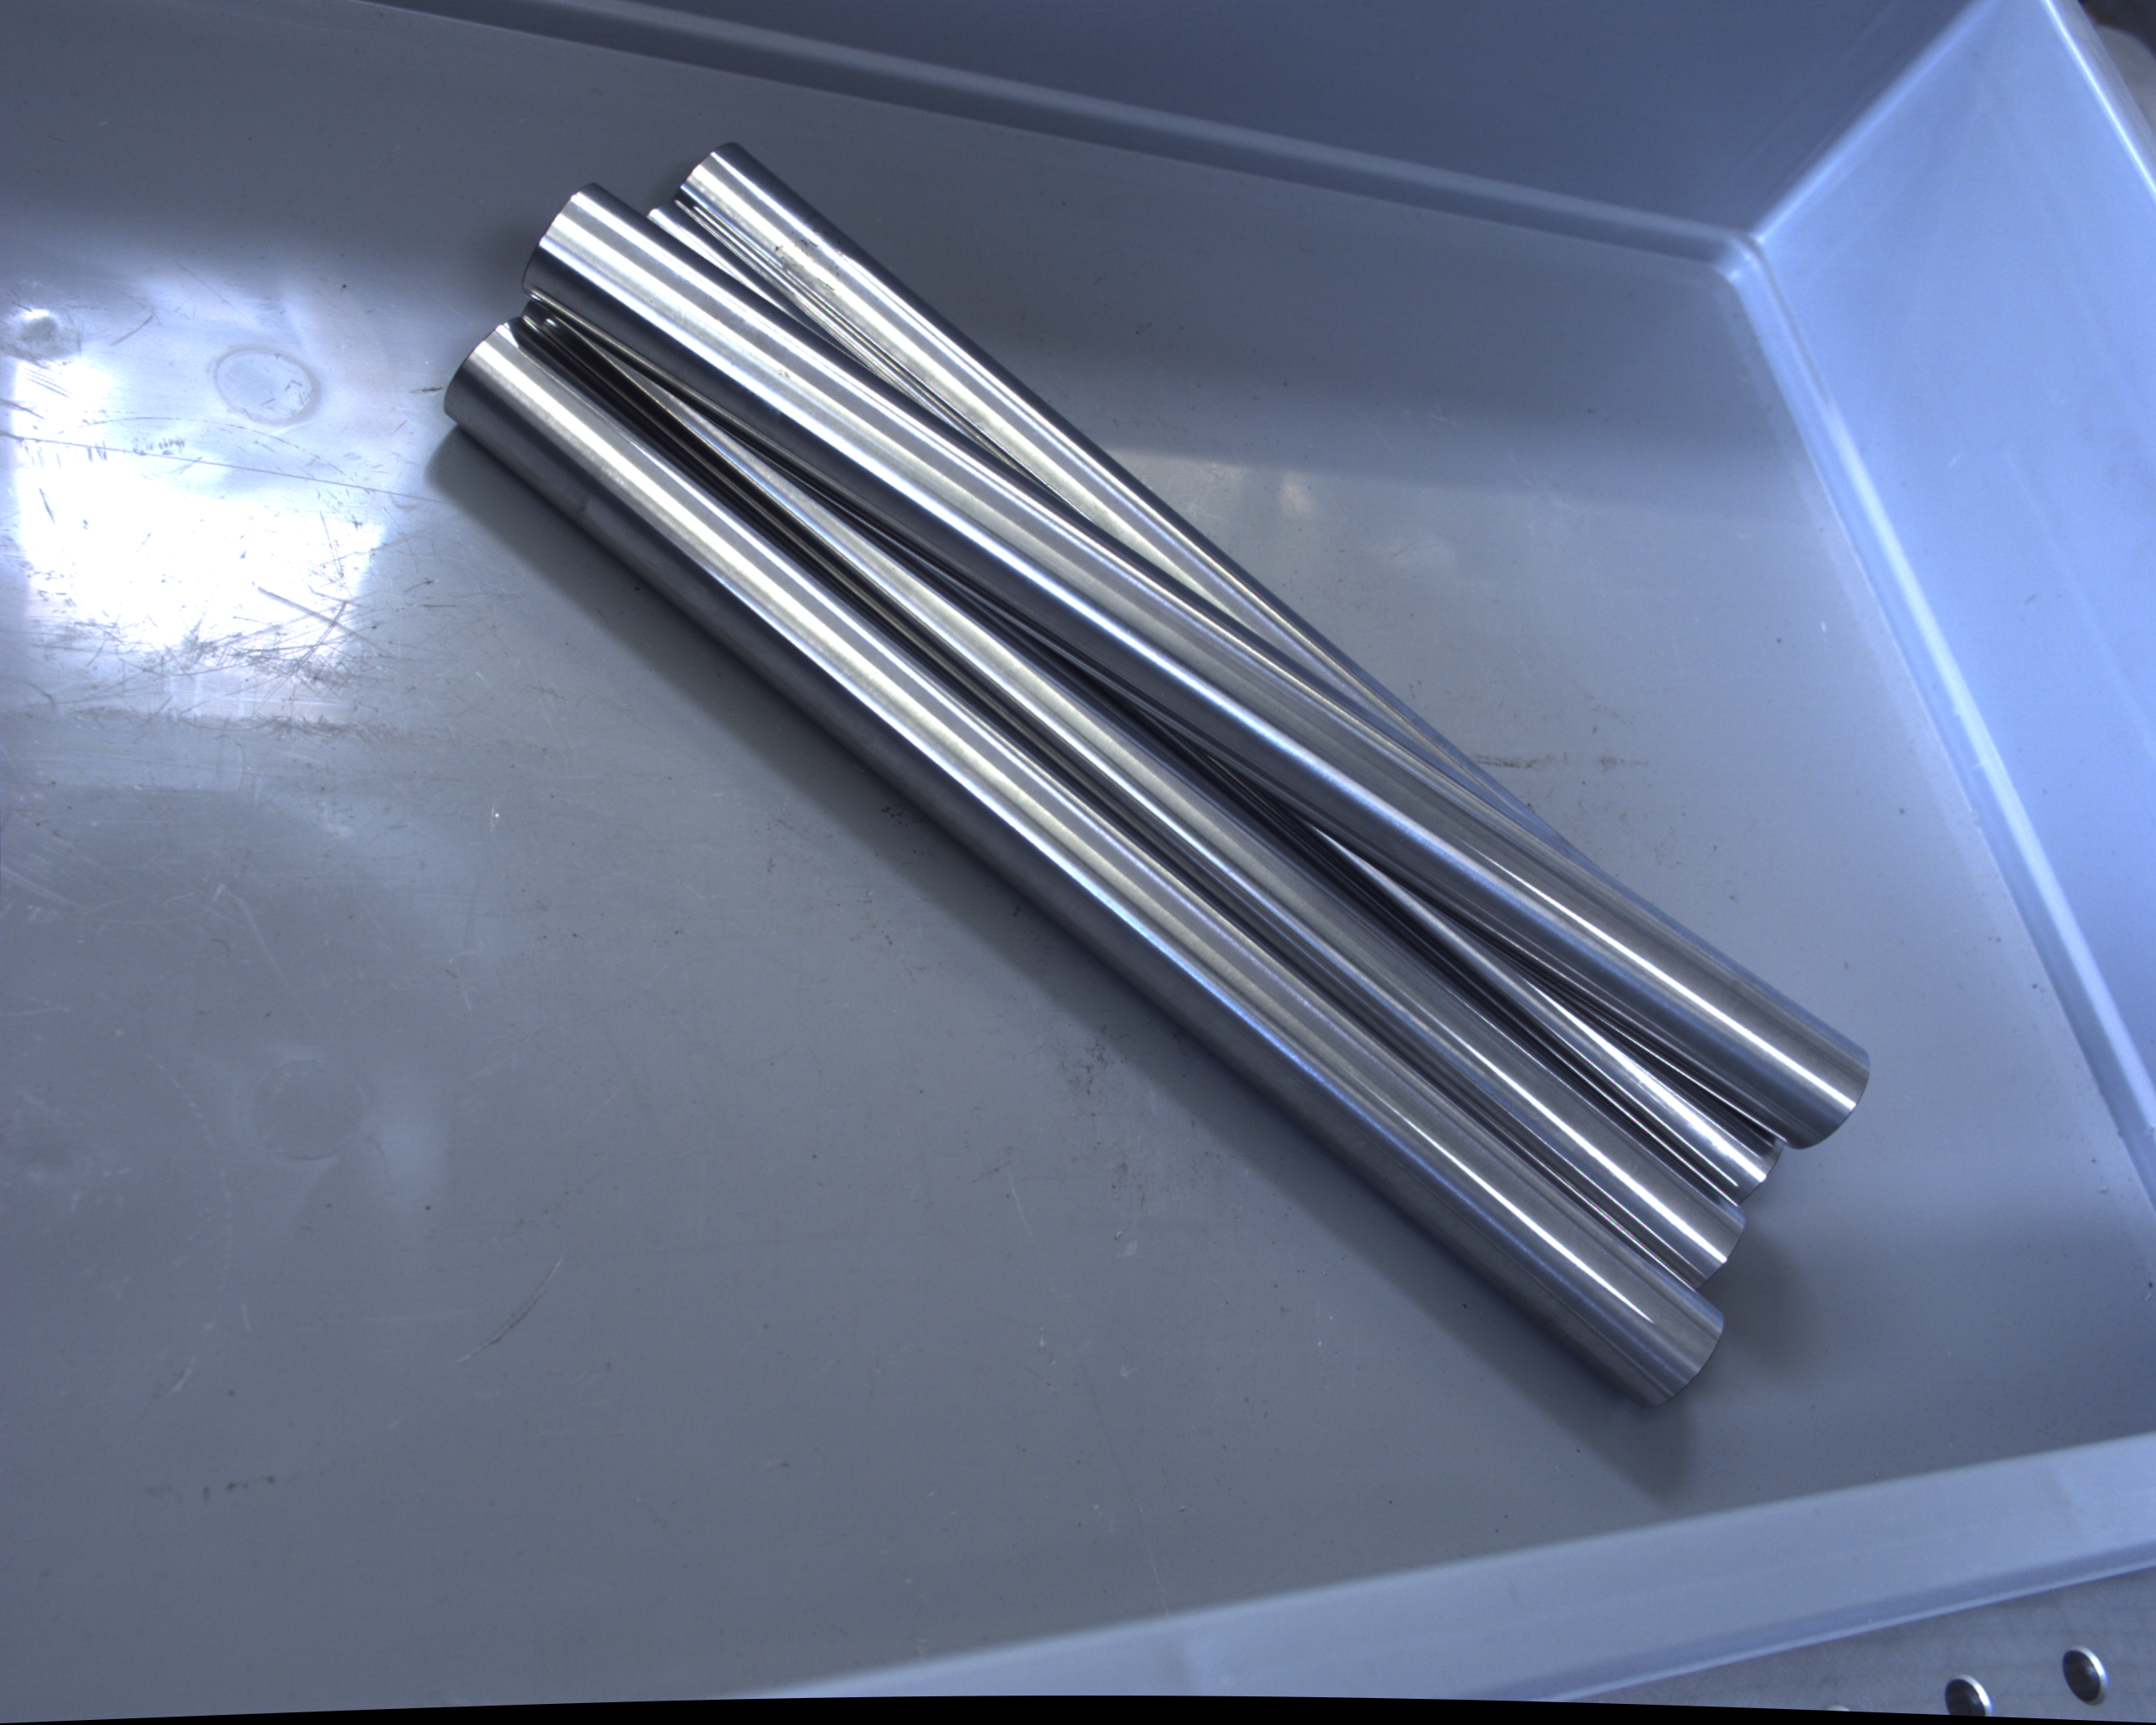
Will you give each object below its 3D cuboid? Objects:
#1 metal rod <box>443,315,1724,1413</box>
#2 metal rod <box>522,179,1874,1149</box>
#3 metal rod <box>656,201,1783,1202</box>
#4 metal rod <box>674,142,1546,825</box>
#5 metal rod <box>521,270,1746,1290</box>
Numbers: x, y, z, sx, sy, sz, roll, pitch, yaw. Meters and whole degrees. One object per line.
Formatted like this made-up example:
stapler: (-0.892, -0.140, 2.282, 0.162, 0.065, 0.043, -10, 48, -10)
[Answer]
metal rod: (0.002, 0.001, 0.404, 0.300, 0.025, 0.025, 40, 51, -1)
metal rod: (0.028, -0.035, 0.407, 0.301, 0.025, 0.025, 33, 51, -6)
metal rod: (0.024, -0.031, 0.435, 0.300, 0.025, 0.025, 40, 51, -1)
metal rod: (0.034, -0.048, 0.451, 0.300, 0.025, 0.025, 40, 51, -1)
metal rod: (0.011, -0.017, 0.420, 0.300, 0.025, 0.025, 40, 51, -1)
